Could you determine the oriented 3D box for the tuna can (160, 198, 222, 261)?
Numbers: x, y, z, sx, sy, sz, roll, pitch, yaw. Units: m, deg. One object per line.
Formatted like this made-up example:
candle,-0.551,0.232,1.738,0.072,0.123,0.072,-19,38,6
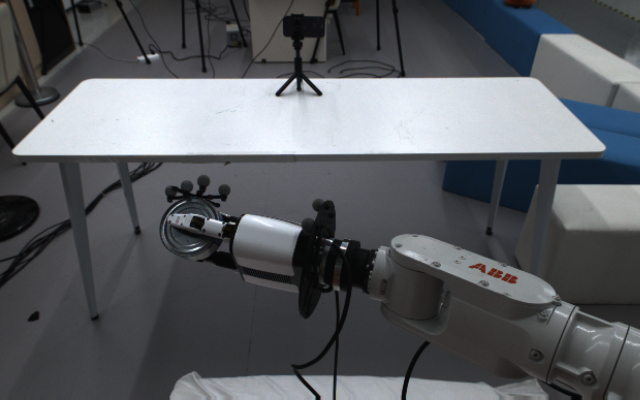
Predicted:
tuna can,-0.173,0.043,0.682,0.085,0.034,0.085,-2,69,6
